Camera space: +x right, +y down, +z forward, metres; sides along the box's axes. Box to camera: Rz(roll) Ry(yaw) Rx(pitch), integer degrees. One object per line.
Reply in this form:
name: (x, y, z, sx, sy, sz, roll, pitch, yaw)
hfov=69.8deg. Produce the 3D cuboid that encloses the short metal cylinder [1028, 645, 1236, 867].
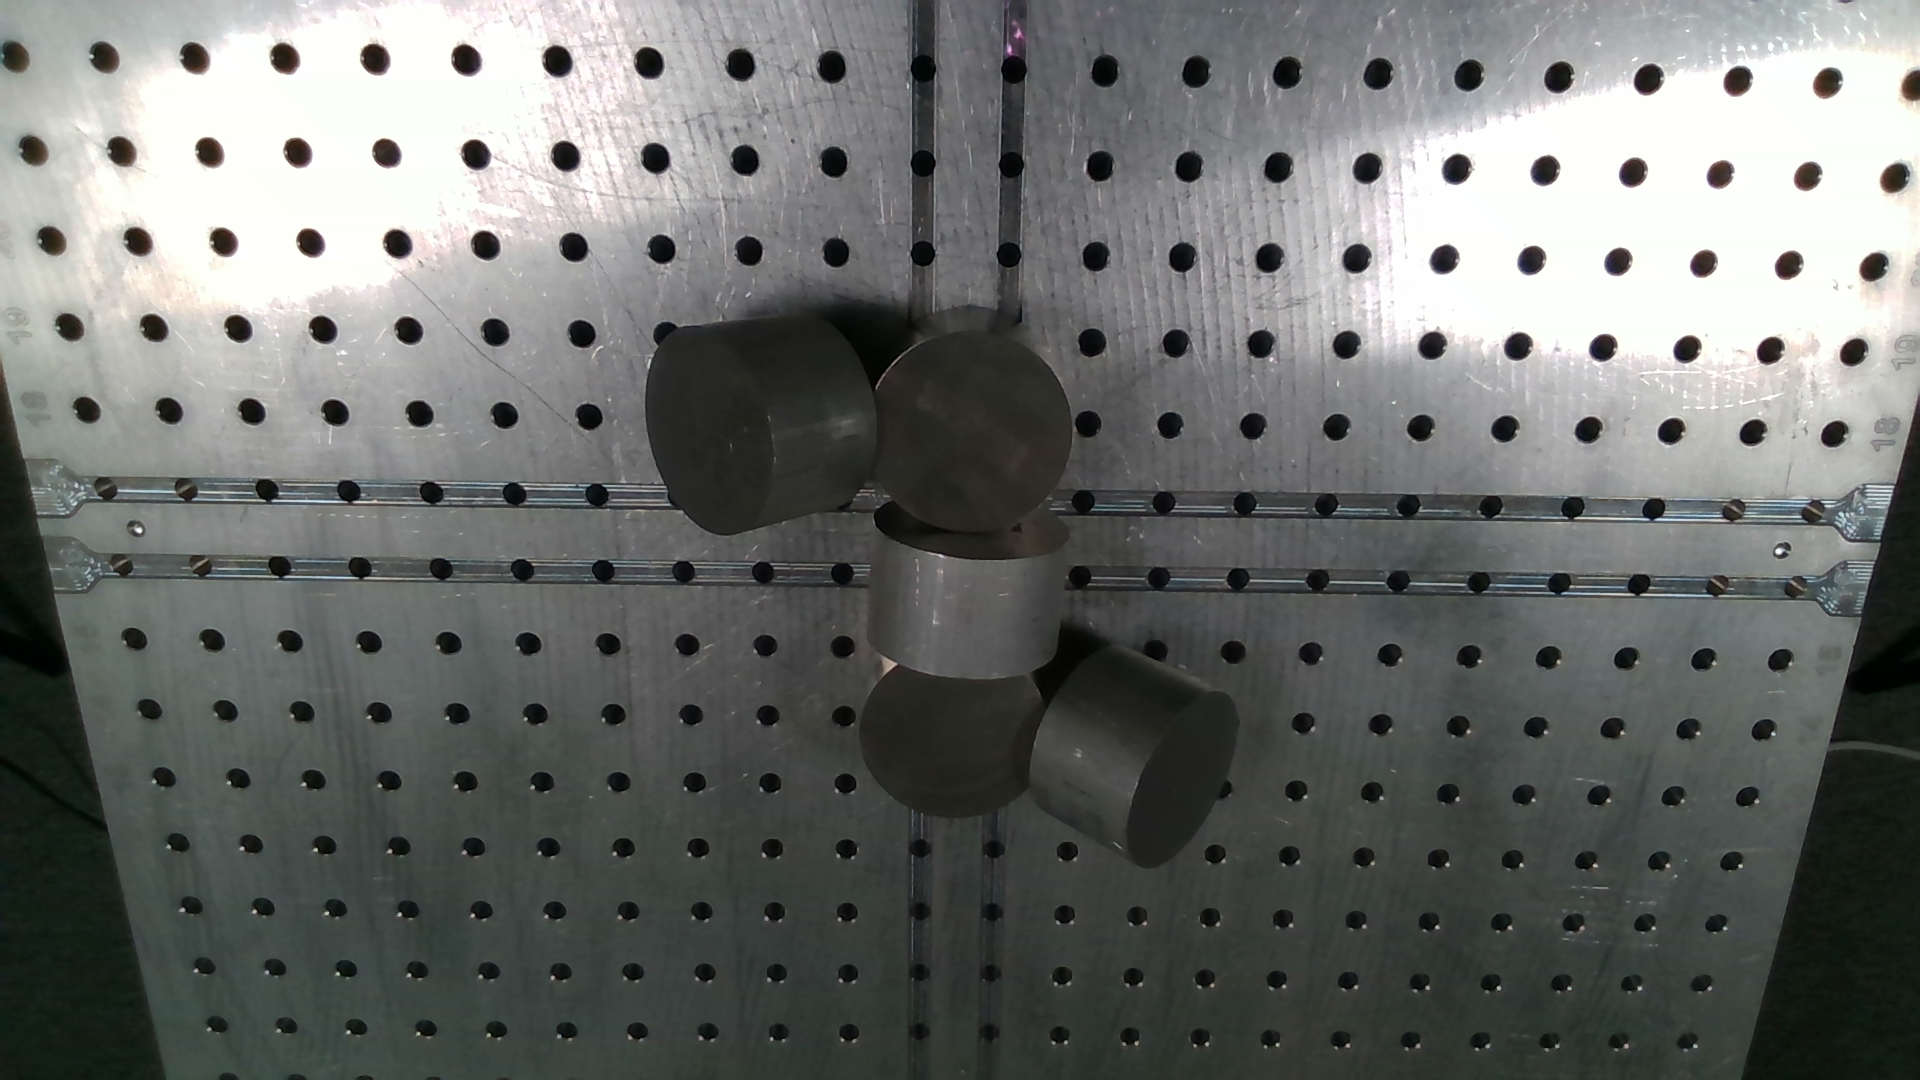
short metal cylinder: (0.074, 0.091, 0.584, 0.050, 0.080, 0.080, 24, 115, 36)

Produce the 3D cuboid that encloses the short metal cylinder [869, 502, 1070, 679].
short metal cylinder: (0.003, 0.017, 0.564, 0.080, 0.080, 0.050, 4, 110, -2)

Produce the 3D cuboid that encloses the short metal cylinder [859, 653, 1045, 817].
short metal cylinder: (-0.002, 0.073, 0.600, 0.080, 0.050, 0.080, 0, 110, 0)

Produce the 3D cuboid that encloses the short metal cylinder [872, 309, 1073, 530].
short metal cylinder: (0.004, -0.050, 0.554, 0.080, 0.050, 0.080, 0, 110, 0)

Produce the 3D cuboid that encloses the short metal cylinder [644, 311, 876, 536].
short metal cylinder: (-0.078, -0.046, 0.535, 0.080, 0.050, 0.080, 17, 115, 41)
